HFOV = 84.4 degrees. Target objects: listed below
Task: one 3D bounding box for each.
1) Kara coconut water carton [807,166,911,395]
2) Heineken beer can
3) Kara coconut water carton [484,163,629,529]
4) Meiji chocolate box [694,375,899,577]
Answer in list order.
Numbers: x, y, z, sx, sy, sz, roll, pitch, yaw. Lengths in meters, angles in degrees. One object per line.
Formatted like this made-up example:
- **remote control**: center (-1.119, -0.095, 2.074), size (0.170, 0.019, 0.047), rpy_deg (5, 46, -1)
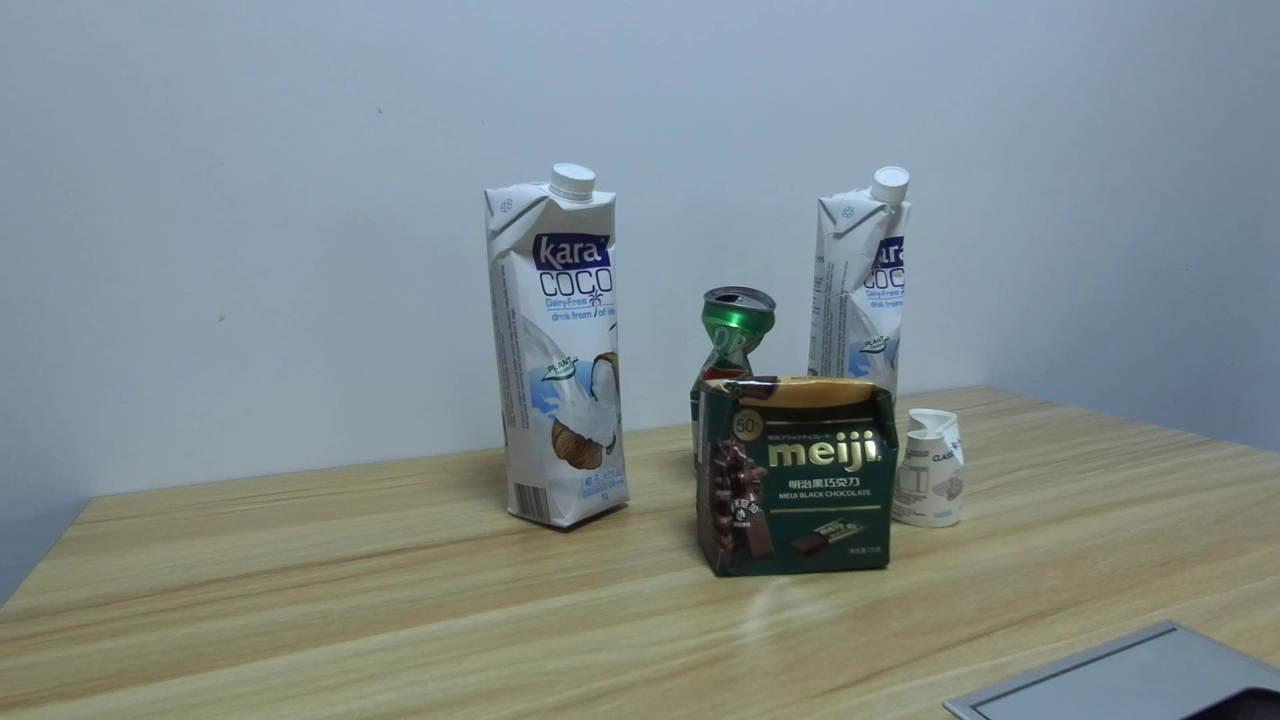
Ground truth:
- **Kara coconut water carton**: center (0.194, -0.040, 0.633), size (0.084, 0.255, 0.078), rpy_deg (-7, 14, -34)
- **Heineken beer can**: center (0.075, 0.023, 0.566), size (0.067, 0.159, 0.078), rpy_deg (-10, 20, -24)
- **Kara coconut water carton**: center (-0.055, -0.011, 0.503), size (0.071, 0.244, 0.100), rpy_deg (5, 13, 40)
- **Meiji chocolate box**: center (0.094, 0.071, 0.446), size (0.113, 0.110, 0.058), rpy_deg (0, 1, -4)
